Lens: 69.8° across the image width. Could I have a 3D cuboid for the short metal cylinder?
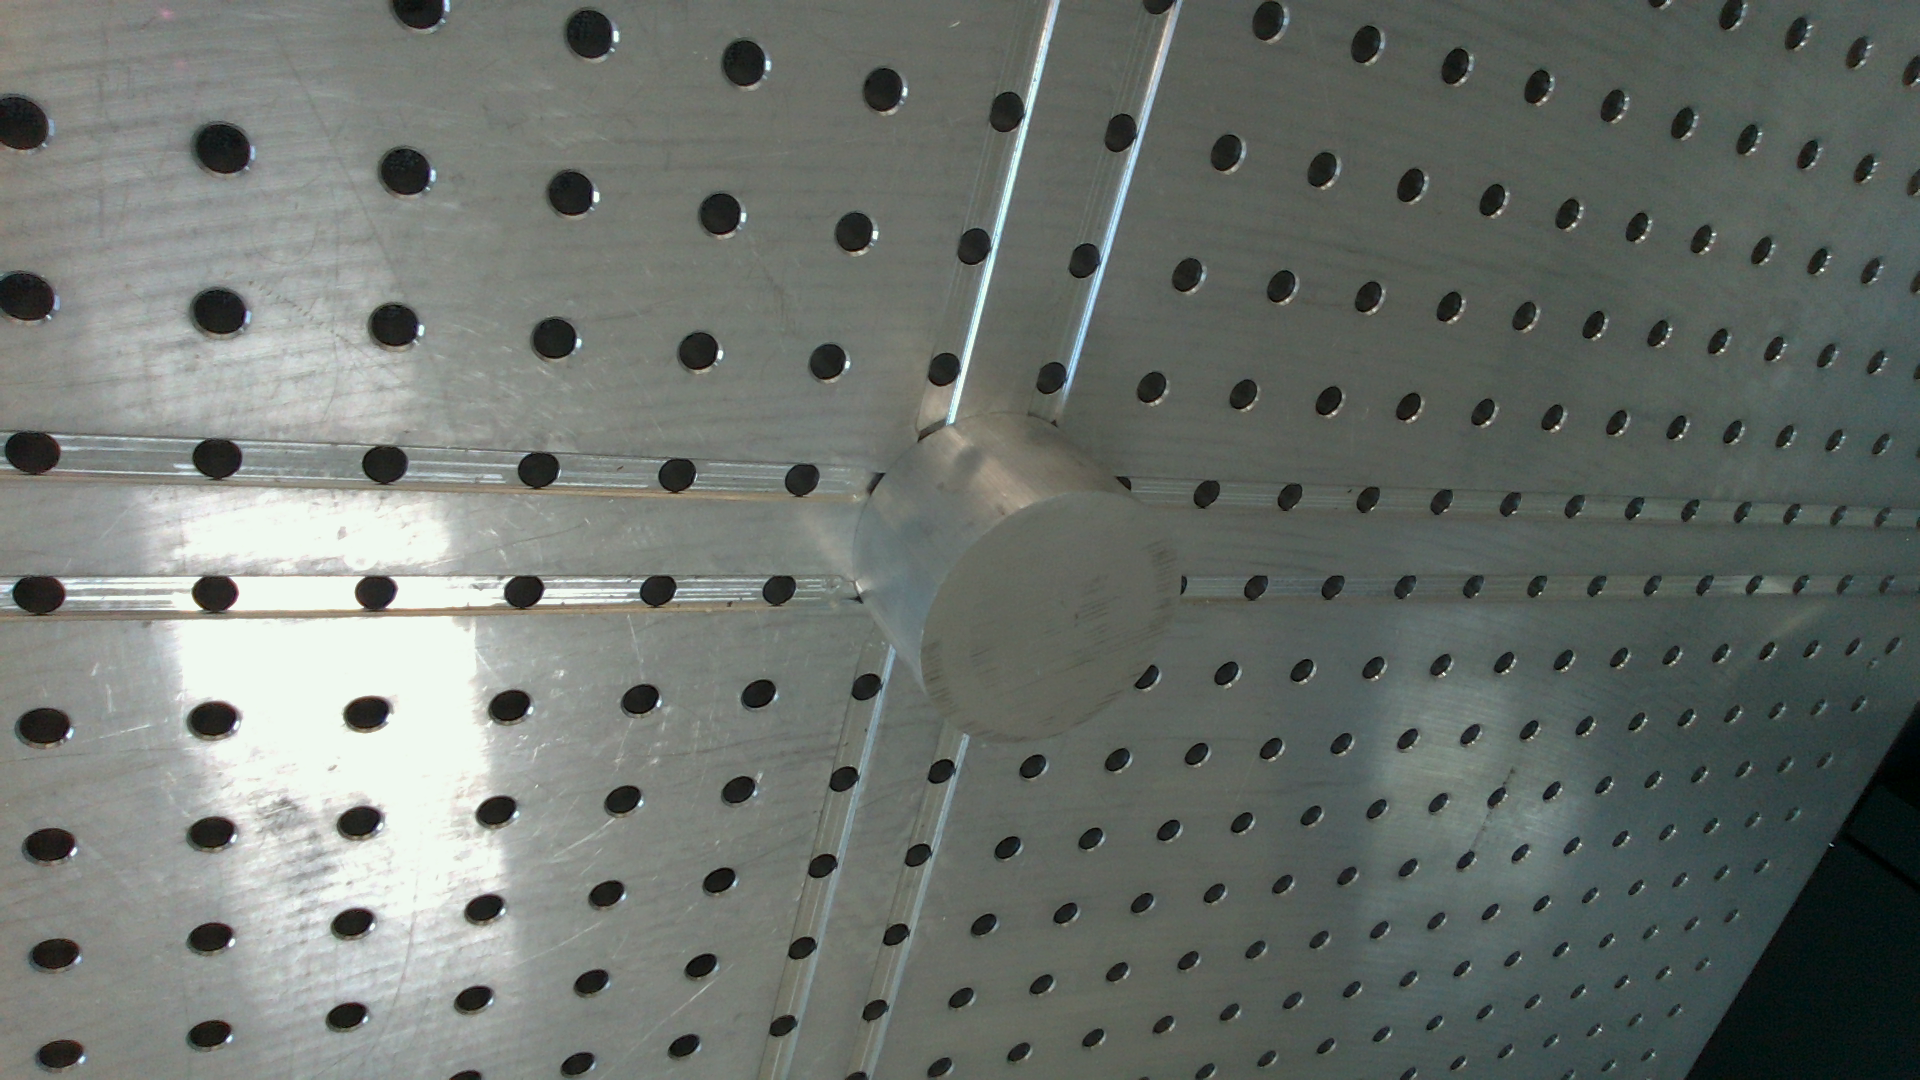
[{"bbox_3d":[0.015,0.011,0.390,0.080,0.050,0.080,-14,124,-21],"label":"short metal cylinder"}]
